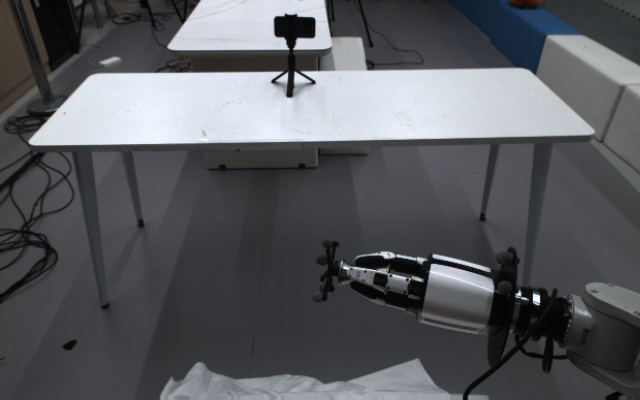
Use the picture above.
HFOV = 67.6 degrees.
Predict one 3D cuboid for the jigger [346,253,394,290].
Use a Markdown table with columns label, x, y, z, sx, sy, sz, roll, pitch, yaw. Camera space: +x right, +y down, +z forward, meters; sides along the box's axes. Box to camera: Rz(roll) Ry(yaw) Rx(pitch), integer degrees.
| label | x | y | z | sx | sy | sz | roll | pitch | yaw |
| --- | --- | --- | --- | --- | --- | --- | --- | --- | --- |
| jigger | 0.070 | 0.104 | 0.687 | 0.071 | 0.043 | 0.043 | 7 | 35 | 14 |
